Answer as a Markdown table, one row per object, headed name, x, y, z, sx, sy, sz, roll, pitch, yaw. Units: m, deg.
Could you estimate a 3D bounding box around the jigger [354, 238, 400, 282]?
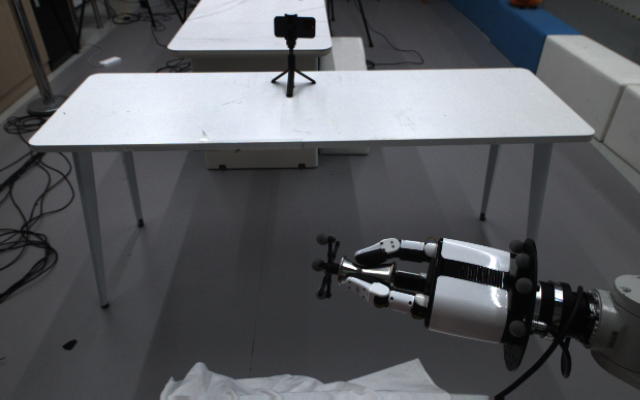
| name | x | y | z | sx | sy | sz | roll | pitch | yaw |
| --- | --- | --- | --- | --- | --- | --- | --- | --- | --- |
| jigger | 0.068 | 0.093 | 0.629 | 0.071 | 0.043 | 0.043 | 7 | 35 | 16 |
